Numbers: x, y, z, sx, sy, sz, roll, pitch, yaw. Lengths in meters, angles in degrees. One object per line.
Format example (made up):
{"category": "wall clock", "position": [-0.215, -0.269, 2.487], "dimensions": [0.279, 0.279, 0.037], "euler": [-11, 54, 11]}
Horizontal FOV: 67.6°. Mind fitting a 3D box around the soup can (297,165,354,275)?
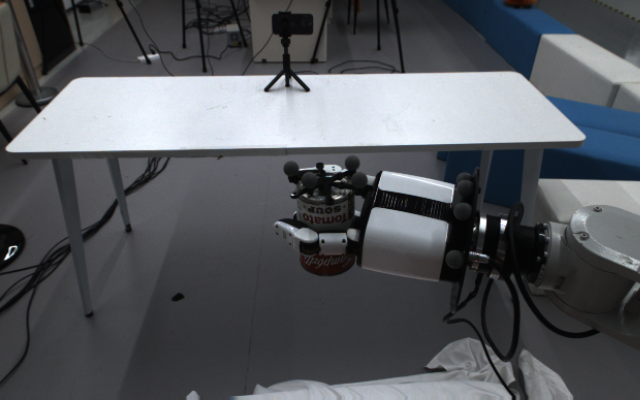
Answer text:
{"category": "soup can", "position": [0.010, 0.028, 0.558], "dimensions": [0.067, 0.101, 0.067], "euler": [-2, 32, 1]}
